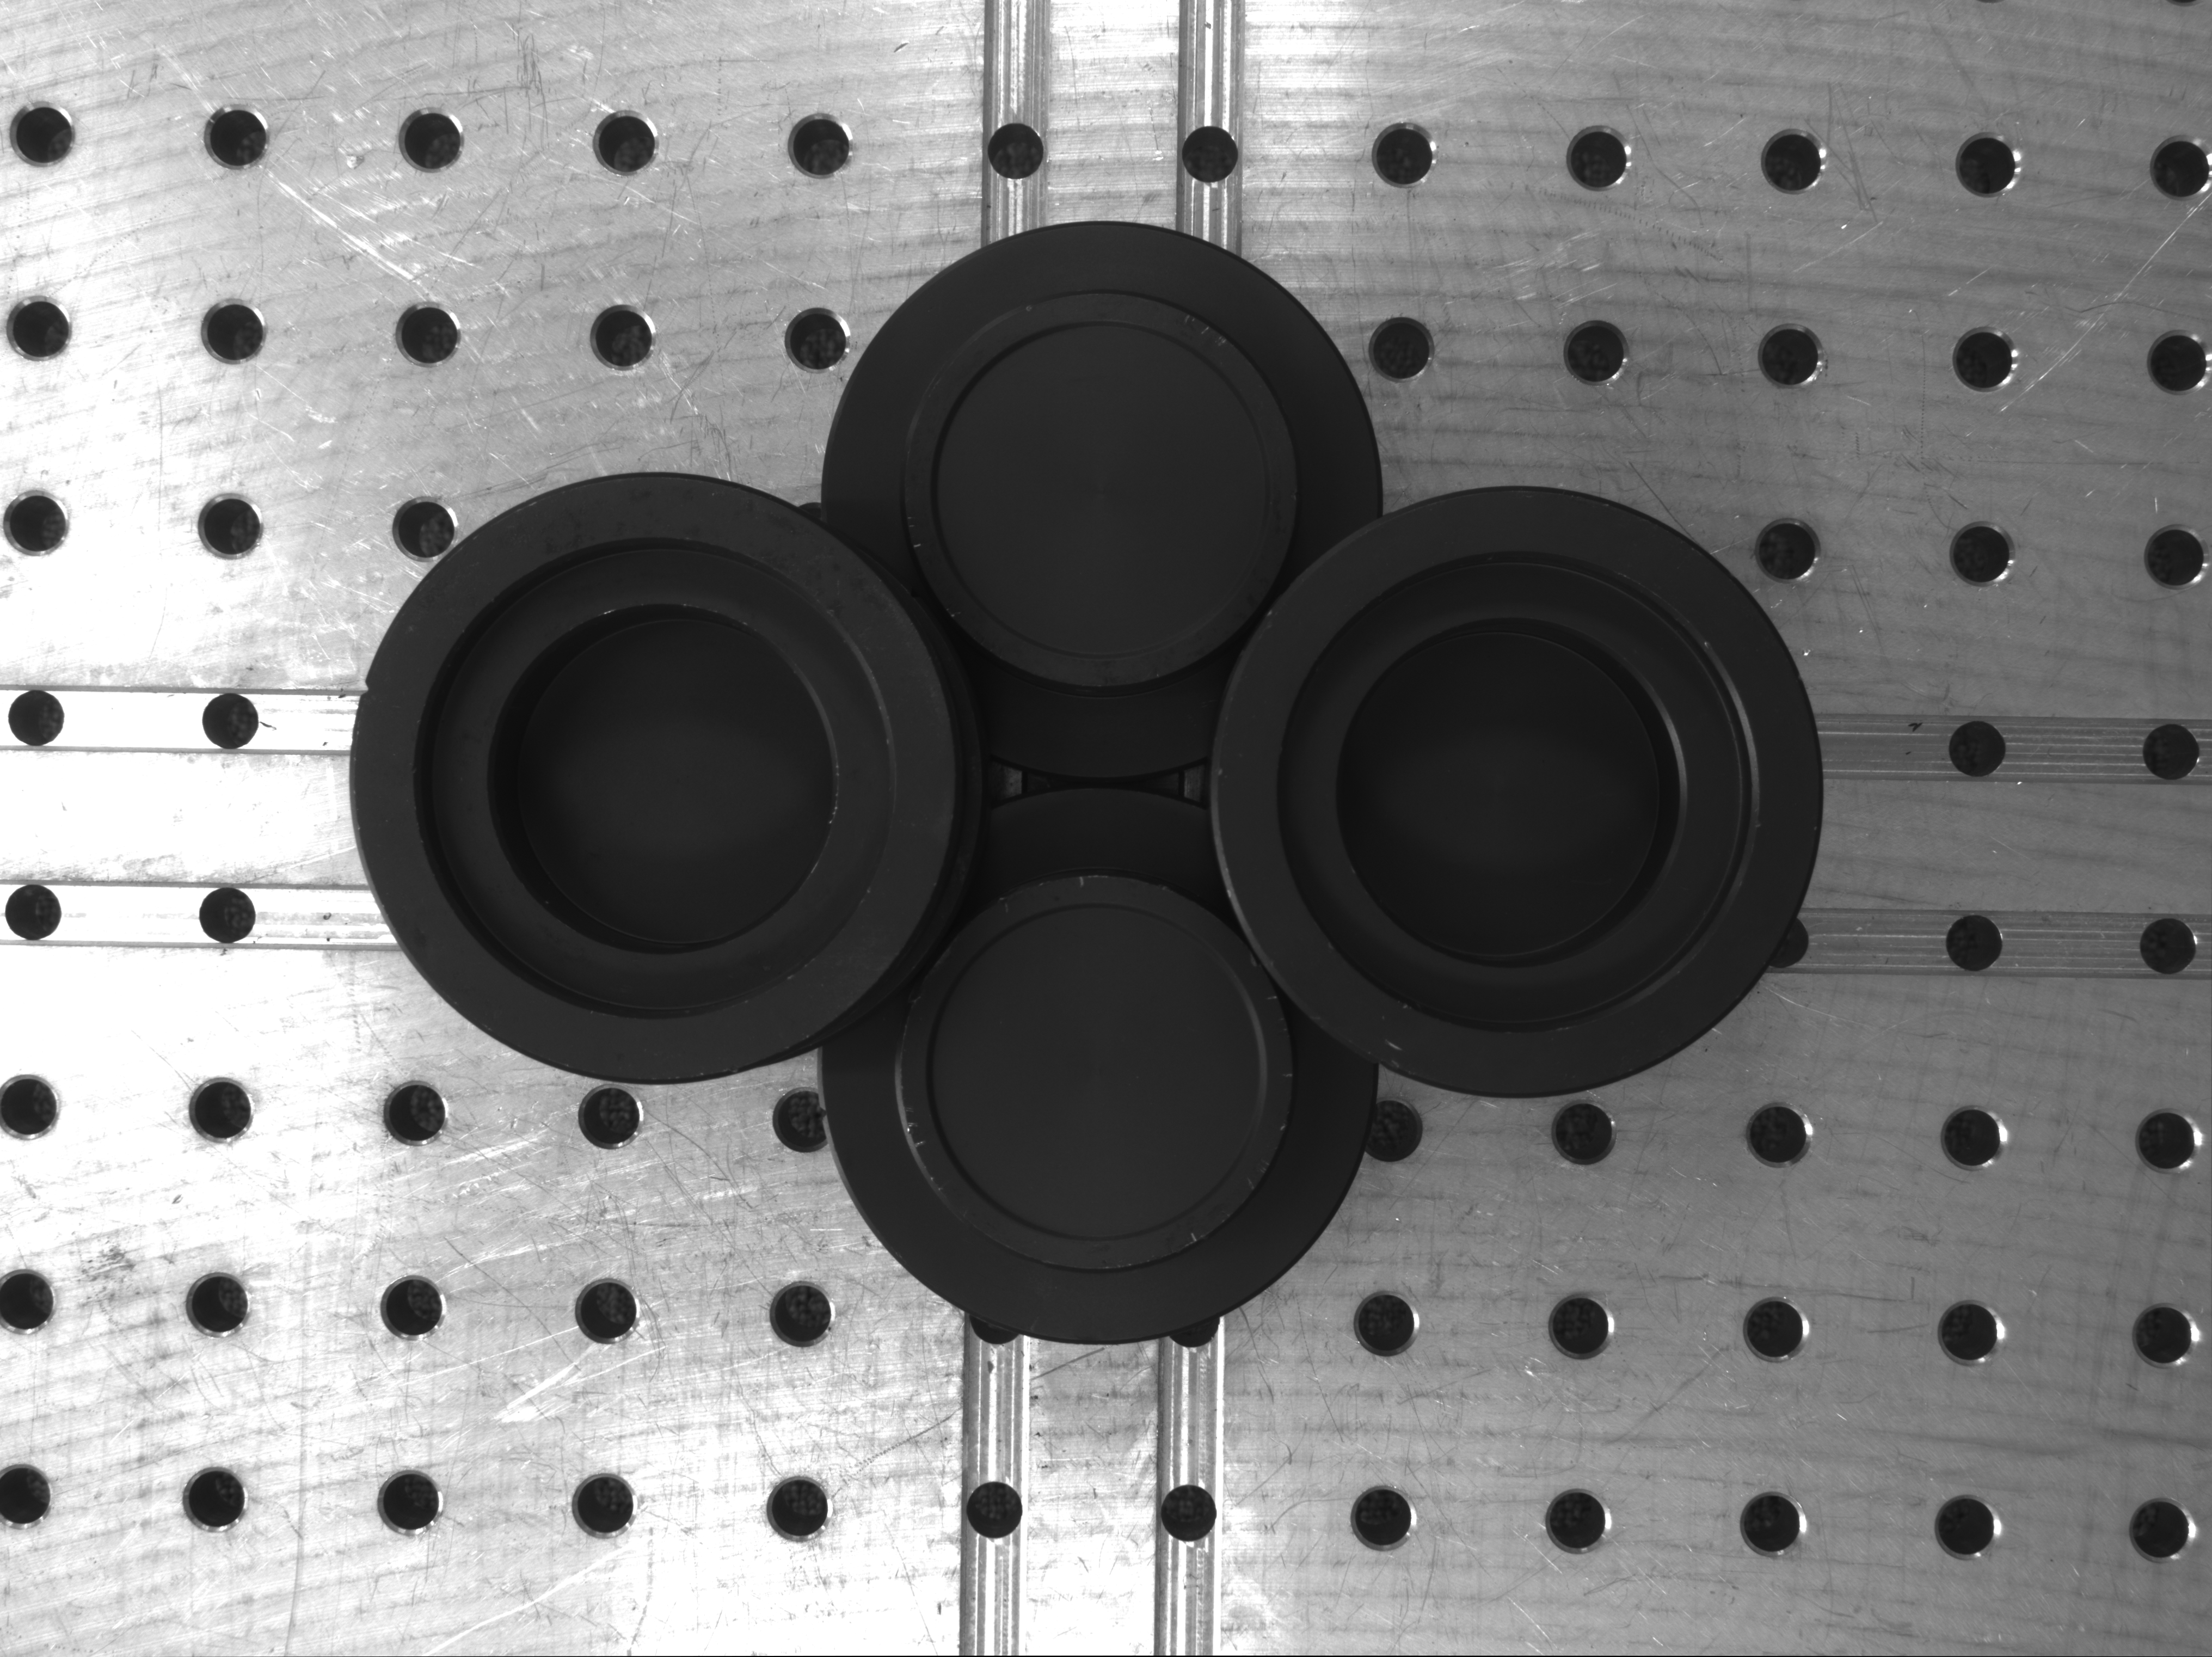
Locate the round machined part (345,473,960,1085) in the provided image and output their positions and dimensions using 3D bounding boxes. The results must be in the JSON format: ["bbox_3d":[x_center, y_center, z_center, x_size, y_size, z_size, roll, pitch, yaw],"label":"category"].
[{"bbox_3d":[-0.073,-0.008,0.607,0.098,0.042,0.098,0,90,0],"label":"round machined part"}]

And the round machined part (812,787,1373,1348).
[{"bbox_3d":[-0.002,0.042,0.639,0.098,0.042,0.098,0,90,0],"label":"round machined part"}]

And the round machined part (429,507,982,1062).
[{"bbox_3d":[-0.070,-0.007,0.639,0.098,0.042,0.098,0,90,0],"label":"round machined part"}]

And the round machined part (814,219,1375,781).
[{"bbox_3d":[-0.002,-0.057,0.639,0.098,0.042,0.098,0,90,0],"label":"round machined part"}]

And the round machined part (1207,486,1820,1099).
[{"bbox_3d":[0.065,-0.006,0.607,0.098,0.042,0.098,0,90,0],"label":"round machined part"}]

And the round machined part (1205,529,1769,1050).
[{"bbox_3d":[0.066,-0.007,0.639,0.098,0.042,0.098,0,90,0],"label":"round machined part"}]
